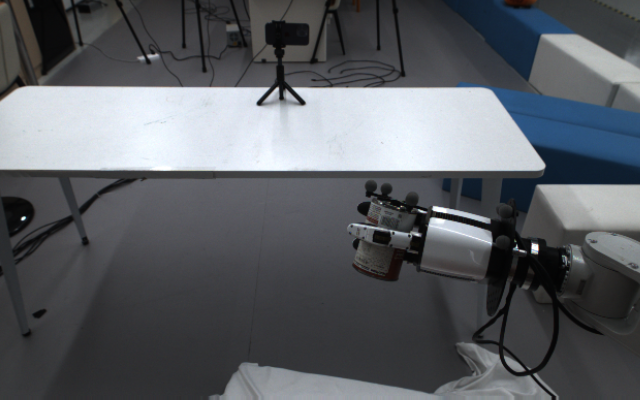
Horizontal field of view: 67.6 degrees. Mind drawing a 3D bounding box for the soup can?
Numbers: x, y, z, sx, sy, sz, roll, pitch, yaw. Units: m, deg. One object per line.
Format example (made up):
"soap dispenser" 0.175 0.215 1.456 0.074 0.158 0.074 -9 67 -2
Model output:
"soup can" 0.092 0.054 0.679 0.067 0.101 0.067 15 7 -2
